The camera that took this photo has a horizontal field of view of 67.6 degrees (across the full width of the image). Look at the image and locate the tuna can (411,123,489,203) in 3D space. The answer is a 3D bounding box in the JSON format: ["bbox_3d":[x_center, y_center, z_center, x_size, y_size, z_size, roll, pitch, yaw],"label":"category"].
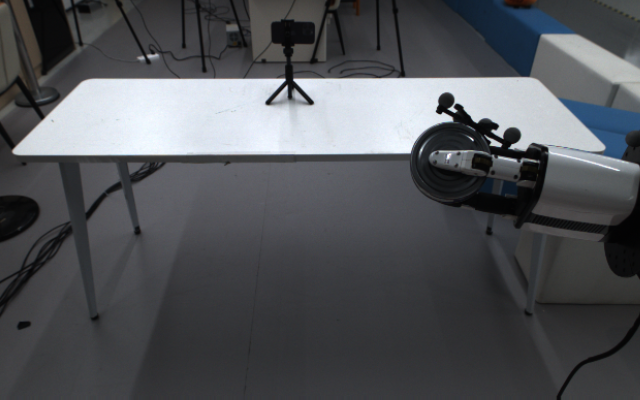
[{"bbox_3d":[0.146,-0.035,0.527,0.085,0.085,0.034,13,-4,15],"label":"tuna can"}]
